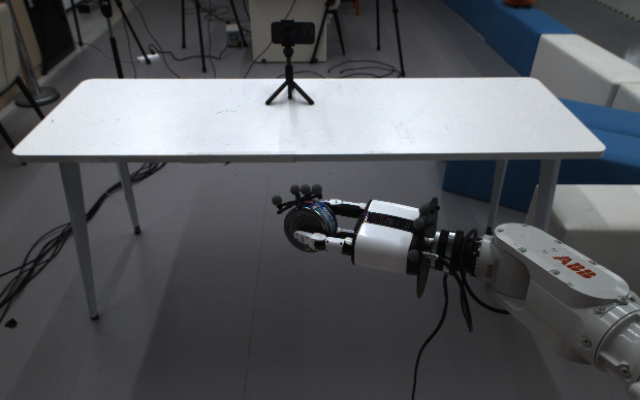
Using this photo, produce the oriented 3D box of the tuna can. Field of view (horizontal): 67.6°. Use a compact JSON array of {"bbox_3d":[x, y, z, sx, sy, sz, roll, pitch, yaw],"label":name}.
[{"bbox_3d":[-0.013,0.049,0.800,0.085,0.085,0.034,15,29,17],"label":"tuna can"}]
